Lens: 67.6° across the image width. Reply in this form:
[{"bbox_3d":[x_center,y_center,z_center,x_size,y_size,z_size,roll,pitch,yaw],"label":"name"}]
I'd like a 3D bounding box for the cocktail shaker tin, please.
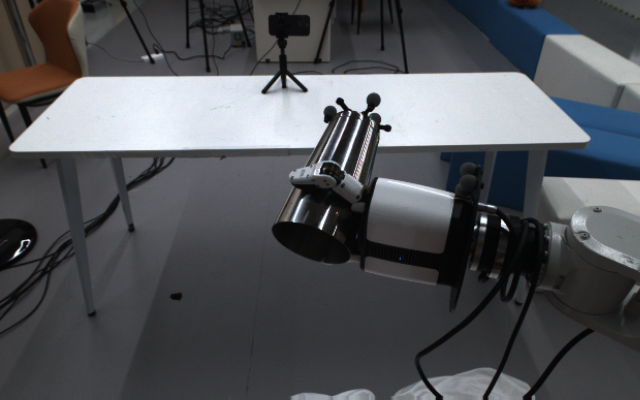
[{"bbox_3d":[0.016,-0.021,0.570,0.093,0.093,0.170,13,60,16],"label":"cocktail shaker tin"}]
